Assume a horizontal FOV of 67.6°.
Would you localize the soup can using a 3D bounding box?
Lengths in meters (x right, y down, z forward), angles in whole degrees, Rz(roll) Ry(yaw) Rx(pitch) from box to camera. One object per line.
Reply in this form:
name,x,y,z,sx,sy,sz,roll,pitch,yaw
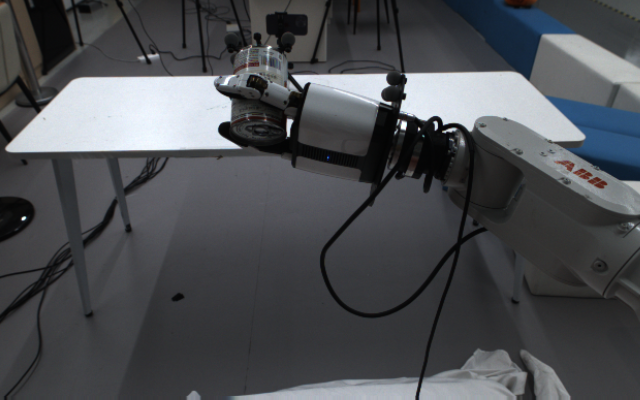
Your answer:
soup can,-0.072,-0.125,0.581,0.067,0.067,0.101,1,72,-2
